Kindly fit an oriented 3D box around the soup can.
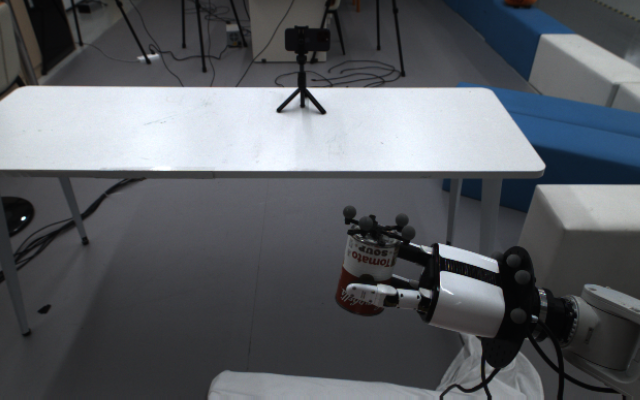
[{"bbox_3d":[0.064,0.087,0.627,0.067,0.101,0.067,9,20,-3],"label":"soup can"}]
